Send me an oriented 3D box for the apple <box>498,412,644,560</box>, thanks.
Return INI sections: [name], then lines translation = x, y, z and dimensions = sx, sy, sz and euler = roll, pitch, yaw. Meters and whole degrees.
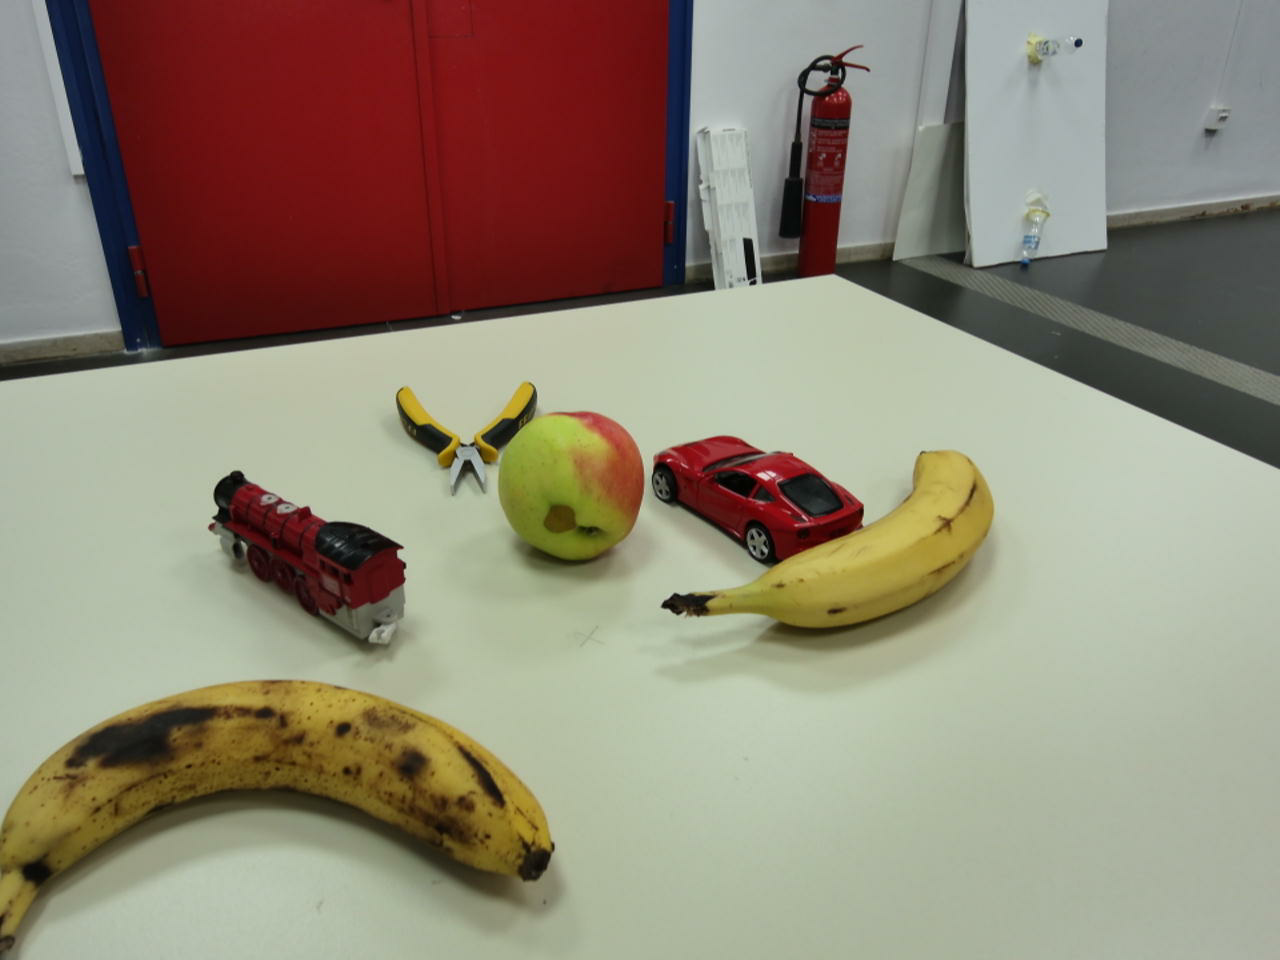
[apple]
translation = -0.033, 0.002, 0.509
dimensions = 0.075, 0.074, 0.075
euler = -22, 34, -40
